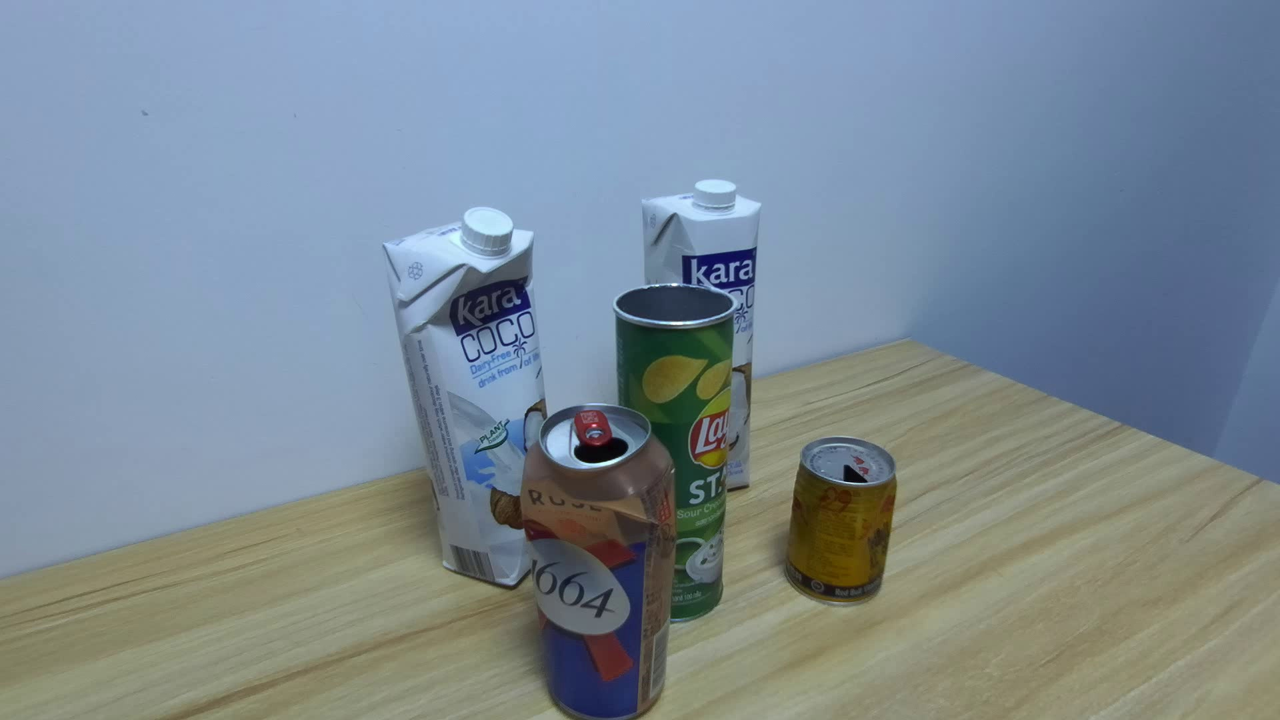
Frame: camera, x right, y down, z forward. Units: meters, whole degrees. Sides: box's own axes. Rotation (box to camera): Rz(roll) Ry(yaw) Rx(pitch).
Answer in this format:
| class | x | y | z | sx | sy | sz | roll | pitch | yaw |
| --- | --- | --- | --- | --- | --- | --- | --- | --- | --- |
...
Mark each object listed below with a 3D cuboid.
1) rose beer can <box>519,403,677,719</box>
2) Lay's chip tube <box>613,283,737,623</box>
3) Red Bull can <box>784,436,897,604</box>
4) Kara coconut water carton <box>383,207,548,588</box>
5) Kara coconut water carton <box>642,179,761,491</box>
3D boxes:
| class | x | y | z | sx | sy | sz | roll | pitch | yaw |
| --- | --- | --- | --- | --- | --- | --- | --- | --- | --- |
| rose beer can | -0.021 | 0.109 | 0.367 | 0.075 | 0.167 | 0.065 | 22 | 34 | 36 |
| Lay's chip tube | 0.020 | 0.058 | 0.433 | 0.071 | 0.202 | 0.071 | -1 | 24 | 1 |
| Red Bull can | 0.132 | 0.105 | 0.465 | 0.069 | 0.092 | 0.069 | 0 | 22 | 0 |
| Kara coconut water carton | -0.102 | 0.024 | 0.468 | 0.071 | 0.244 | 0.100 | 9 | 27 | 25 |
| Kara coconut water carton | 0.046 | -0.015 | 0.548 | 0.077 | 0.245 | 0.075 | -10 | 24 | -20 |
